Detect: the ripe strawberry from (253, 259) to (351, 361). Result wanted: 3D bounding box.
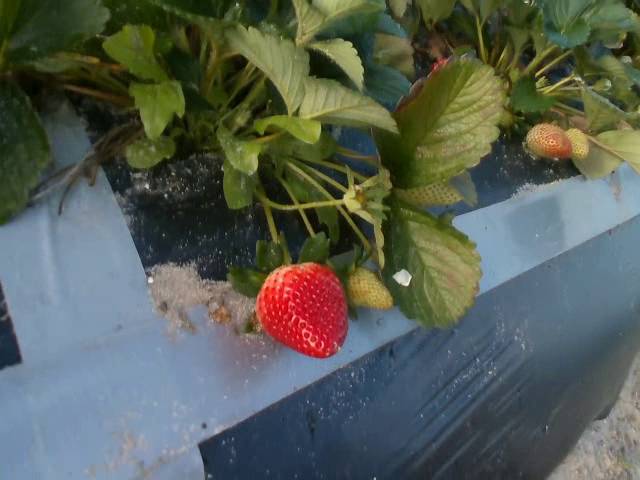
[{"bbox_3d":[-0.001,0.015,0.121,0.023,0.020,0.026,-10,42,-17],"label":"ripe strawberry"}]
